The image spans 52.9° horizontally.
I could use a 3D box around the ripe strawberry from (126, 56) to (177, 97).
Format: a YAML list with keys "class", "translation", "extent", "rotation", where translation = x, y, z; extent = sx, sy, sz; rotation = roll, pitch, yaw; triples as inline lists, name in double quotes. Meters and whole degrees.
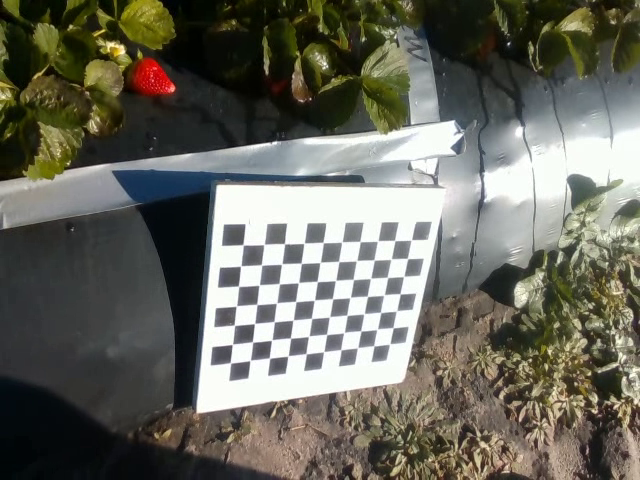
- class: "ripe strawberry"
  translation: [-0.177, -0.168, 0.670]
  extent: [0.058, 0.045, 0.042]
  rotation: [31, 5, -15]
